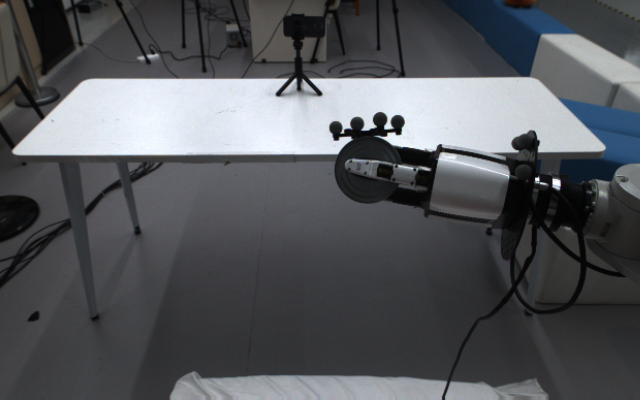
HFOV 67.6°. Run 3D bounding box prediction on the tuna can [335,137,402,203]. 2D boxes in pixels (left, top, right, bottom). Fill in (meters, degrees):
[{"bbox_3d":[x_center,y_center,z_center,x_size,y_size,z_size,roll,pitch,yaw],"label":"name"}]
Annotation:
[{"bbox_3d":[0.064,-0.039,0.623,0.085,0.085,0.034,11,1,12],"label":"tuna can"}]
